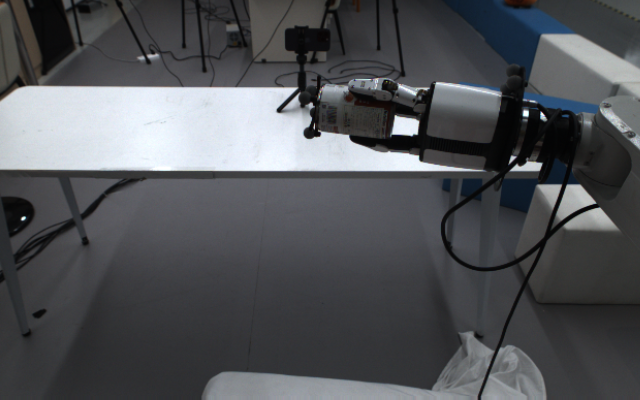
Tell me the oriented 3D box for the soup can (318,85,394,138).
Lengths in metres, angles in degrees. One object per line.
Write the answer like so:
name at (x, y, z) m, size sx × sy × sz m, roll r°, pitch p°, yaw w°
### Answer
soup can at (0.052, -0.122, 0.667) m, size 0.101 × 0.067 × 0.067 m, roll 8°, pitch 35°, yaw 9°
